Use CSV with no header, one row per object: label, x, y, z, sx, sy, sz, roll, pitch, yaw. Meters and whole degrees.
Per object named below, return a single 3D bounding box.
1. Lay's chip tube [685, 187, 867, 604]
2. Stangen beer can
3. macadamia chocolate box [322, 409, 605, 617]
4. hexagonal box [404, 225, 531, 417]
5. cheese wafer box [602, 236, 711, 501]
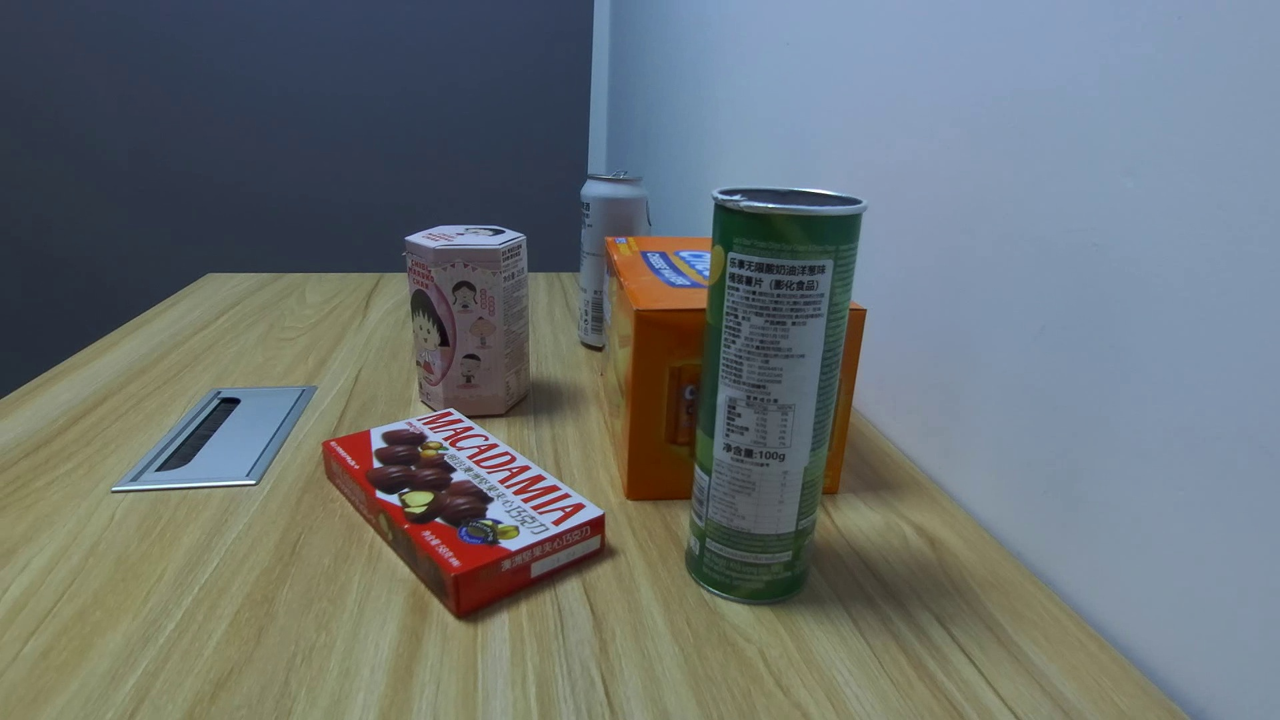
Lay's chip tube,0.063,0.018,0.356,0.071,0.202,0.071,3,20,-1
Stangen beer can,-0.029,-0.061,0.756,0.070,0.070,0.172,-24,17,3
macadamia chocolate box,-0.111,0.080,0.426,0.096,0.027,0.177,-14,27,-40
hexagonal box,-0.135,-0.032,0.562,0.084,0.136,0.091,-16,28,-40
cheese wafer box,0.055,-0.007,0.534,0.148,0.129,0.221,0,21,-8
